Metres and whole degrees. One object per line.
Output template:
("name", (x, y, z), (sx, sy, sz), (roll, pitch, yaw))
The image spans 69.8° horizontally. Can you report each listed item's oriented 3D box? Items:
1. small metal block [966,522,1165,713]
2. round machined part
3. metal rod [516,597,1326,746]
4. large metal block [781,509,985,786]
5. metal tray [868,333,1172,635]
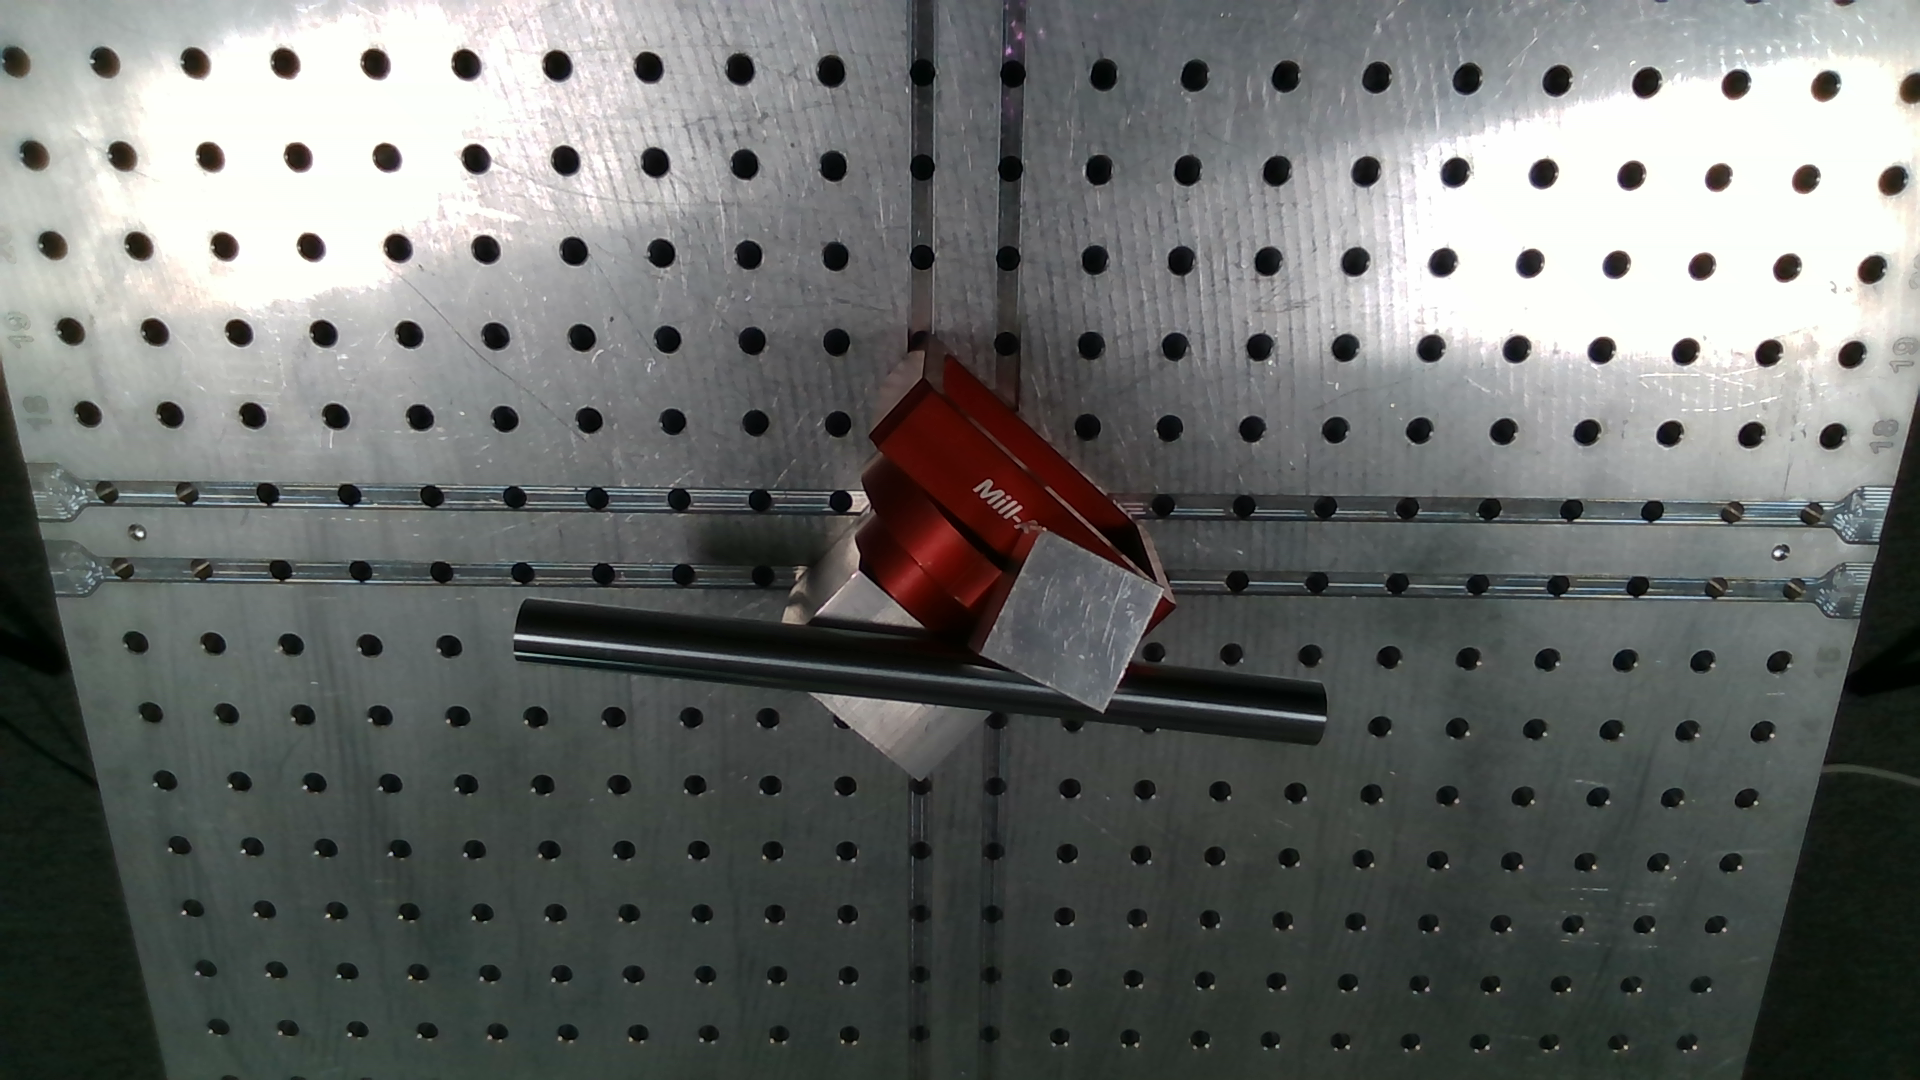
("small metal block", (0.037, 0.027, 0.493), (0.050, 0.025, 0.050), (26, 89, -11))
("round machined part", (-0.002, 0.001, 0.553), (0.098, 0.098, 0.042), (40, 105, -13))
("metal rod", (-0.013, 0.050, 0.520), (0.300, 0.025, 0.025), (6, 110, -2))
("large metal block", (-0.029, 0.042, 0.570), (0.080, 0.080, 0.050), (41, 105, -13))
("metal tray", (0.024, -0.021, 0.545), (0.130, 0.090, 0.030), (41, 105, -14))
